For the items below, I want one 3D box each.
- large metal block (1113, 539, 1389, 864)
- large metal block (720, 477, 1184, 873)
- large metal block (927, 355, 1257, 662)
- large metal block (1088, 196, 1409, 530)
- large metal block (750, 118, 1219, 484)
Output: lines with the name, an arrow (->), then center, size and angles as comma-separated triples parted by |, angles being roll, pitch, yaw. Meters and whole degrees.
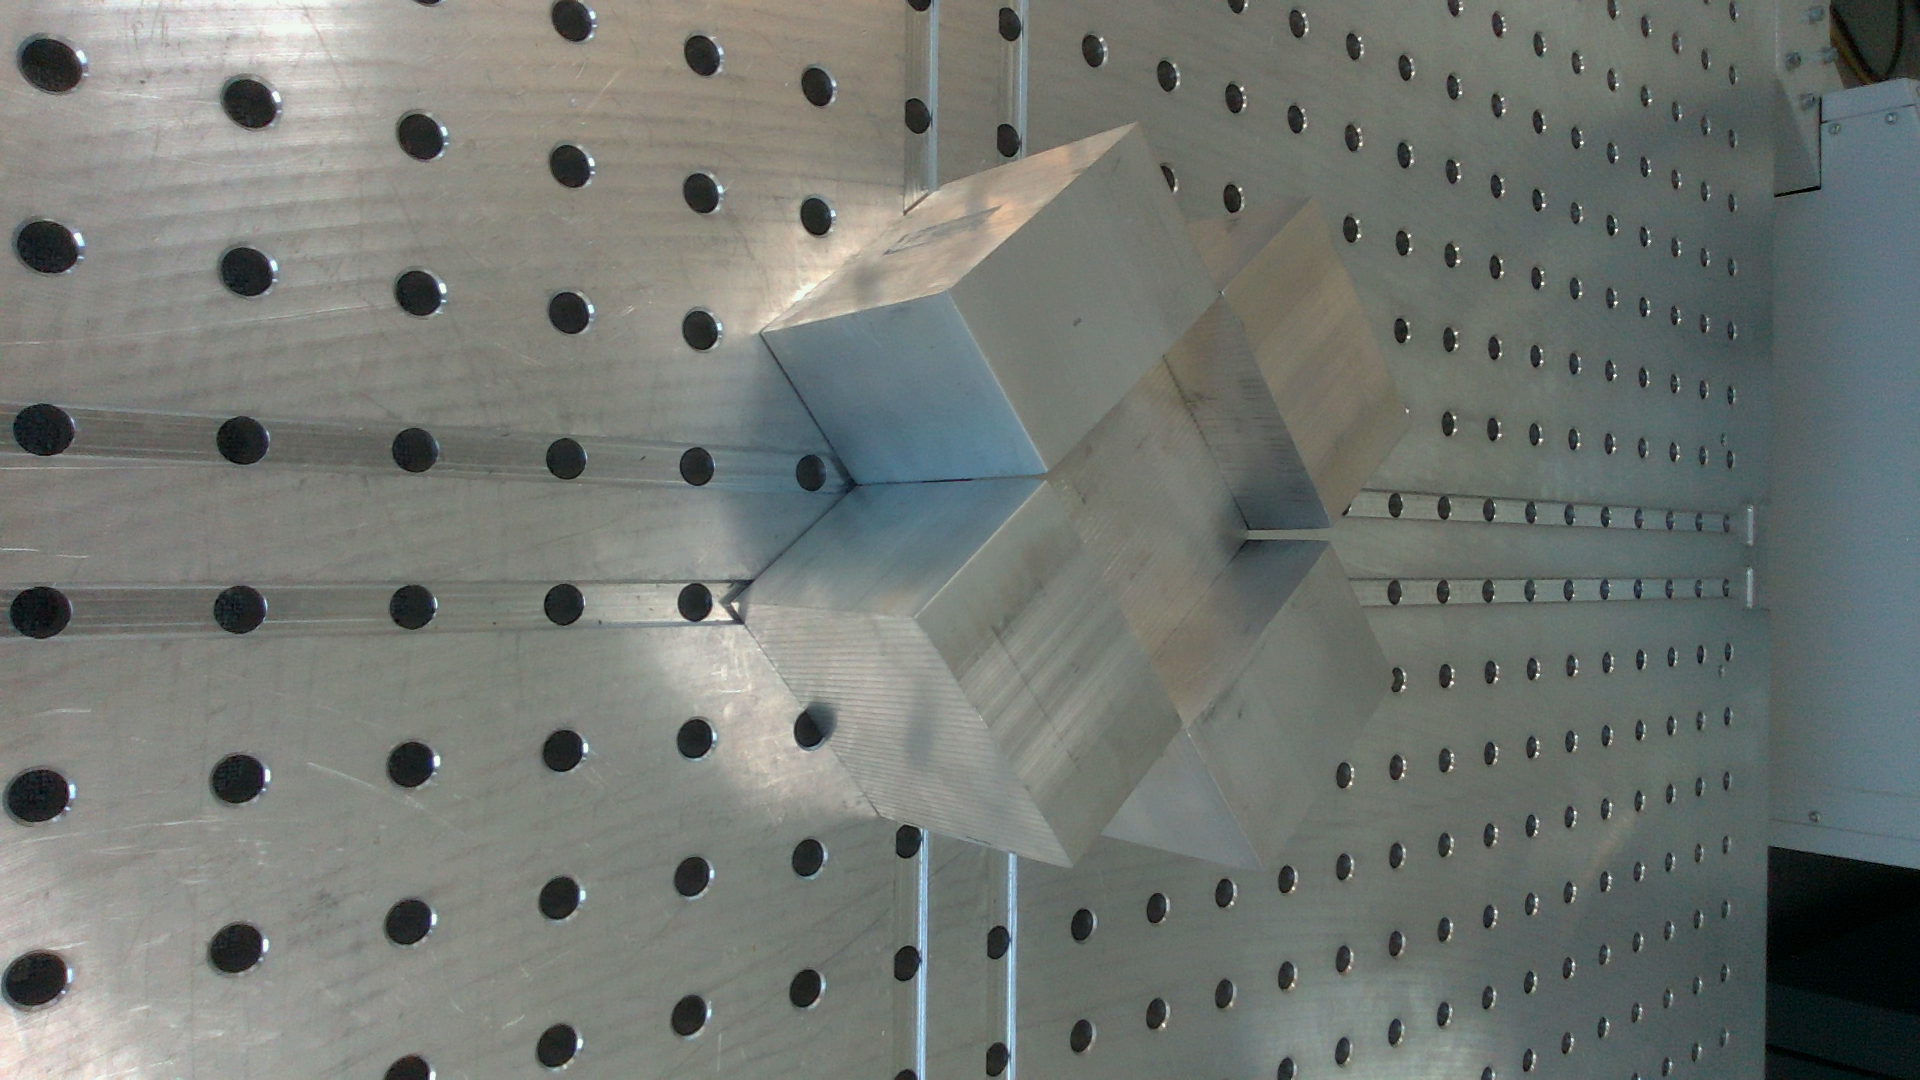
large metal block -> 0.067, 0.044, 0.413 | 0.080, 0.080, 0.050 | -44, 117, -31
large metal block -> -0.002, 0.032, 0.354 | 0.050, 0.080, 0.080 | -46, 118, -30
large metal block -> 0.029, -0.008, 0.398 | 0.080, 0.050, 0.080 | -45, 115, -28
large metal block -> 0.077, -0.050, 0.420 | 0.050, 0.080, 0.080 | -46, 118, -30
large metal block -> 0.006, -0.060, 0.361 | 0.080, 0.080, 0.050 | -46, 117, -30
